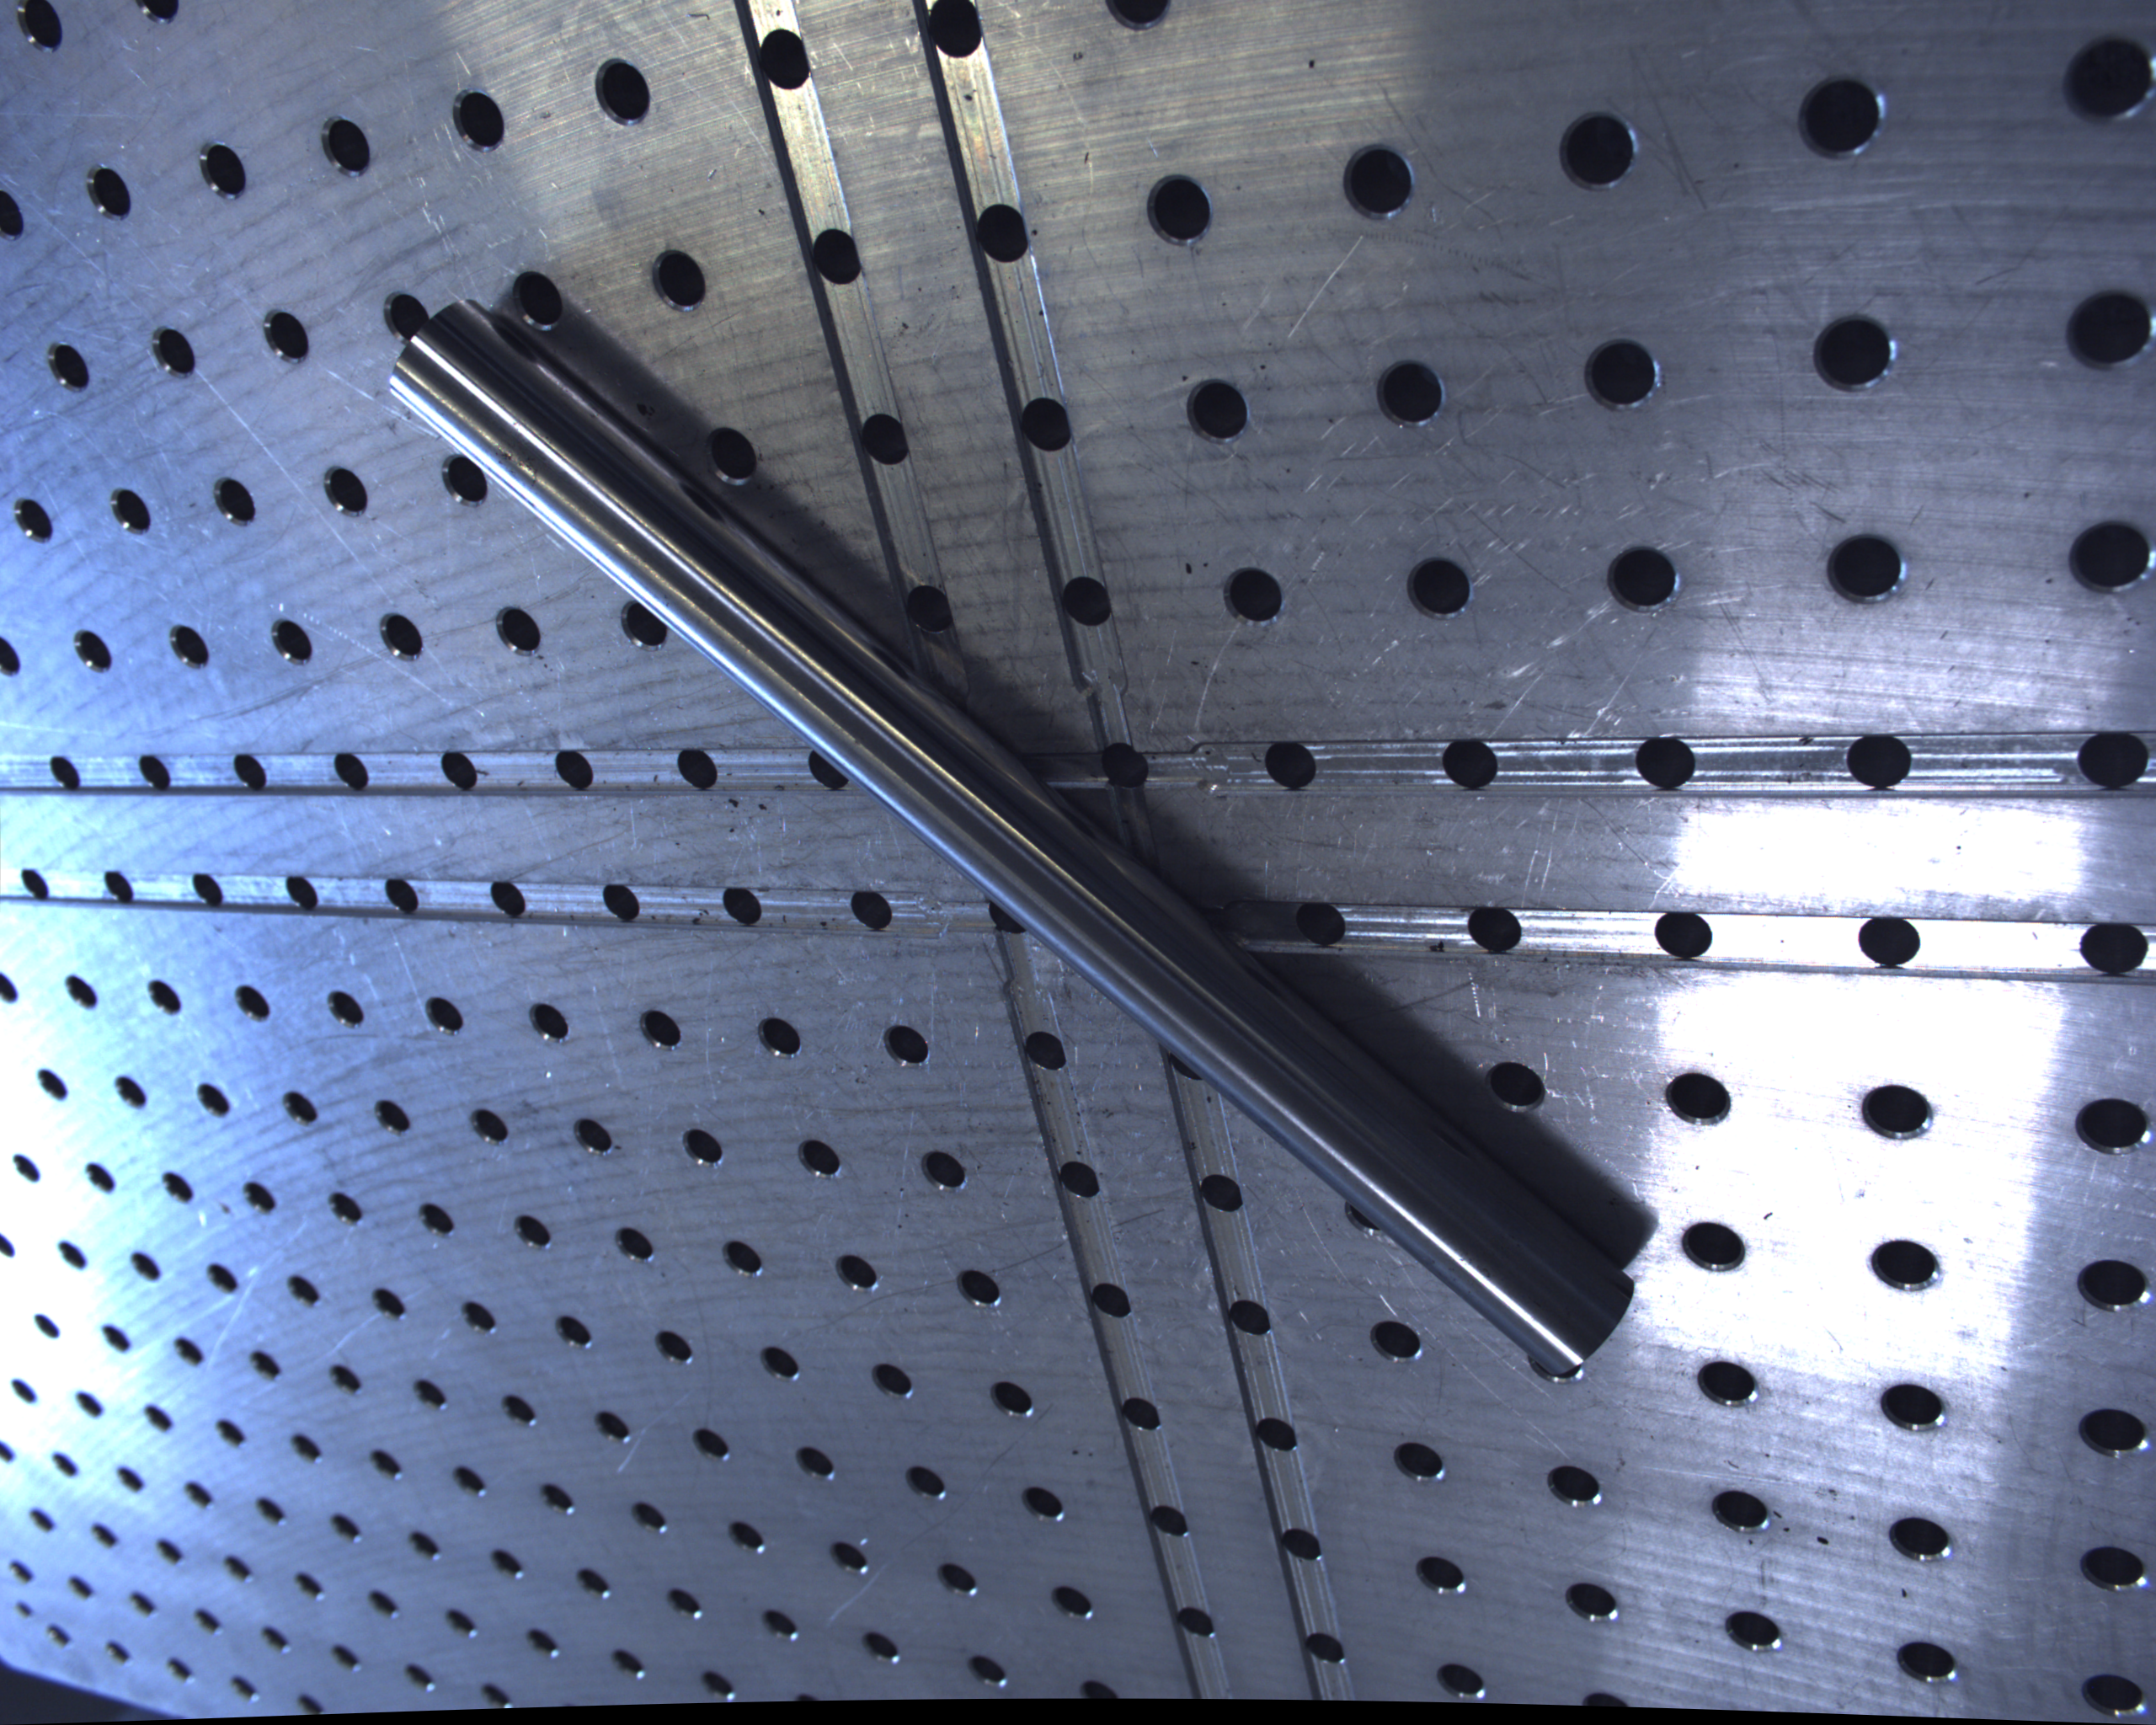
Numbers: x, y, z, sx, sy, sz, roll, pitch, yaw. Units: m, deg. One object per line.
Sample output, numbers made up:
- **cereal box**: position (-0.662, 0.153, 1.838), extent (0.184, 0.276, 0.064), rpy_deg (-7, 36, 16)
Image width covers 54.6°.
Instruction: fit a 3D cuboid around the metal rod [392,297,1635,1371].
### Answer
- **metal rod**: position (-0.013, -0.006, 0.415), extent (0.300, 0.025, 0.025), rpy_deg (40, 129, 0)
